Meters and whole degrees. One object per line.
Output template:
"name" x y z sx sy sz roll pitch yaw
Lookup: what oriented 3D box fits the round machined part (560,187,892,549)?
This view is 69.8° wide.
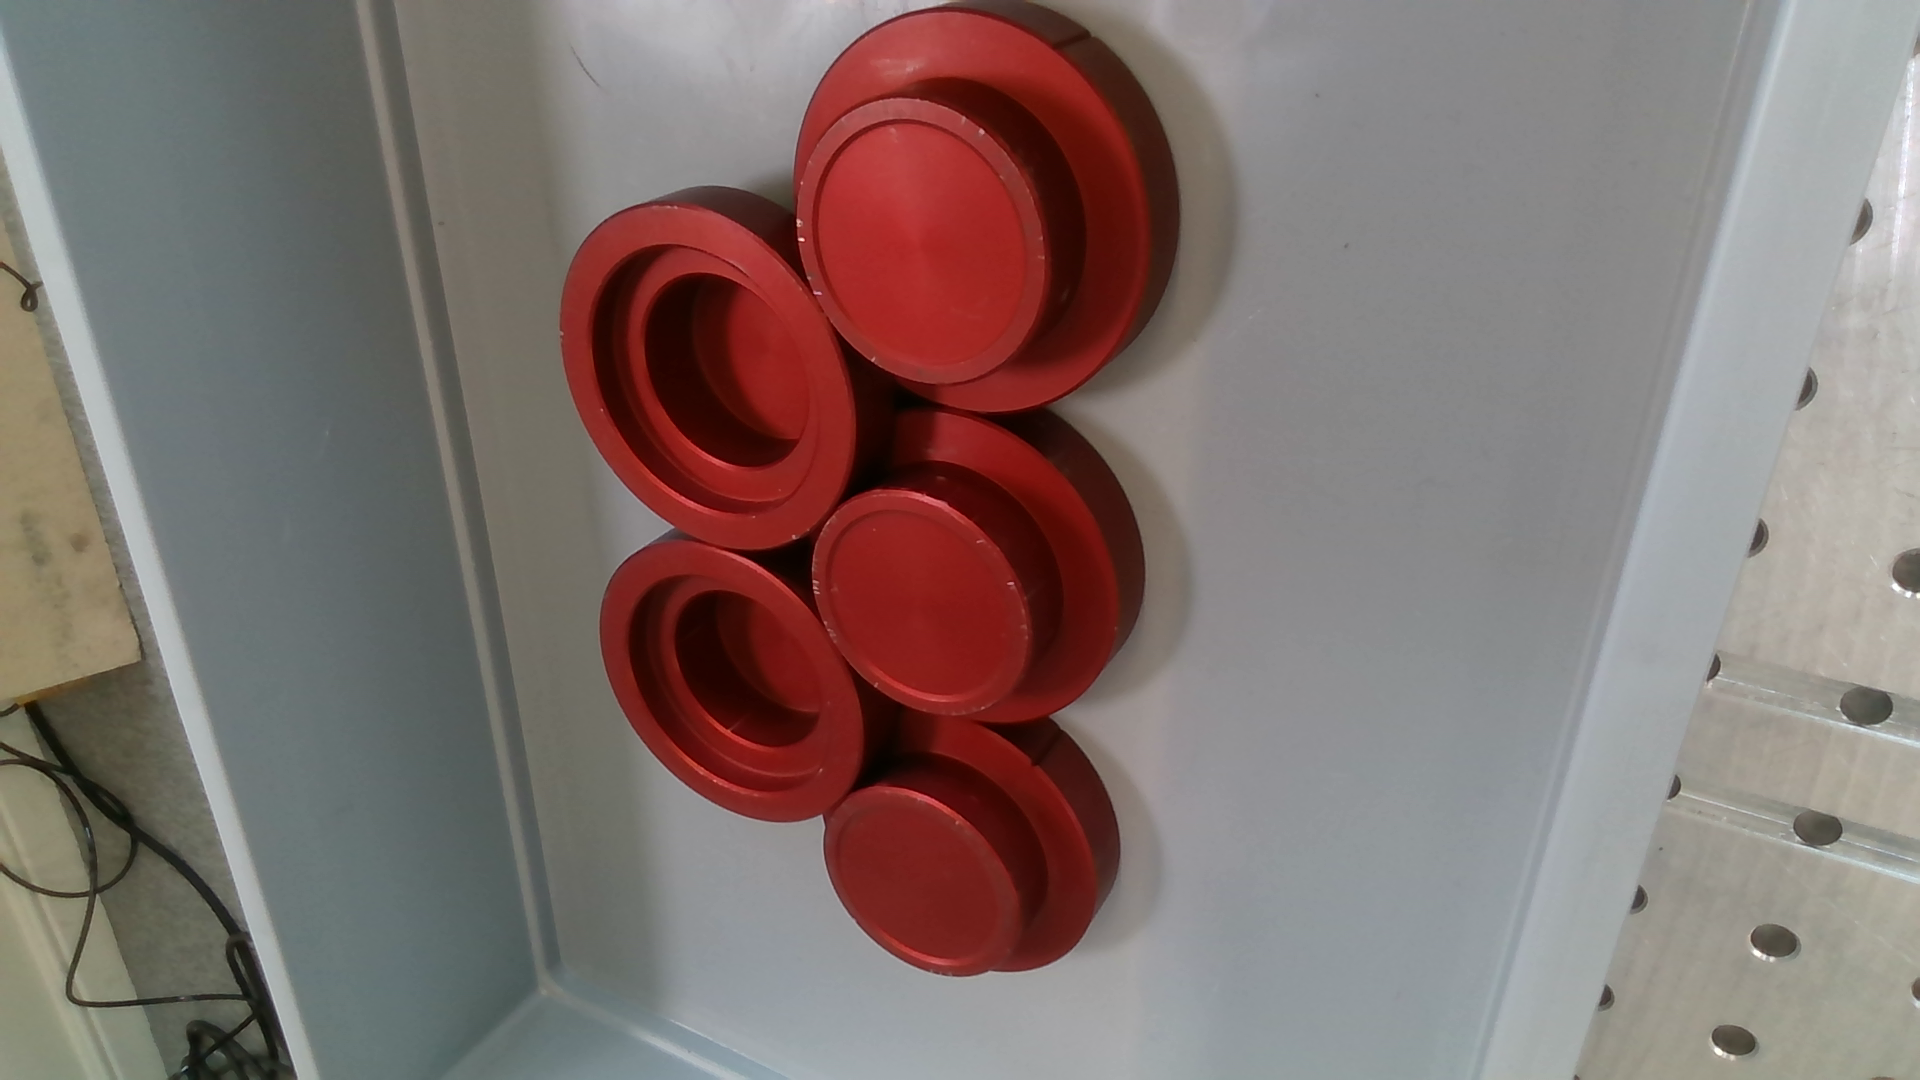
"round machined part" -0.060 -0.050 0.386 0.098 0.042 0.098 15 122 25

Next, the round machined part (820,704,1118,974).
"round machined part" -0.004 0.095 0.430 0.098 0.042 0.098 14 121 24

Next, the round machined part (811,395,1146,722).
"round machined part" -0.002 0.009 0.381 0.098 0.042 0.098 14 121 24

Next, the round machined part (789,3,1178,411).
"round machined part" -0.001 -0.077 0.333 0.098 0.042 0.098 14 123 24

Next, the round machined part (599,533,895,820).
"round machined part" -0.062 0.036 0.434 0.098 0.042 0.098 15 122 25
